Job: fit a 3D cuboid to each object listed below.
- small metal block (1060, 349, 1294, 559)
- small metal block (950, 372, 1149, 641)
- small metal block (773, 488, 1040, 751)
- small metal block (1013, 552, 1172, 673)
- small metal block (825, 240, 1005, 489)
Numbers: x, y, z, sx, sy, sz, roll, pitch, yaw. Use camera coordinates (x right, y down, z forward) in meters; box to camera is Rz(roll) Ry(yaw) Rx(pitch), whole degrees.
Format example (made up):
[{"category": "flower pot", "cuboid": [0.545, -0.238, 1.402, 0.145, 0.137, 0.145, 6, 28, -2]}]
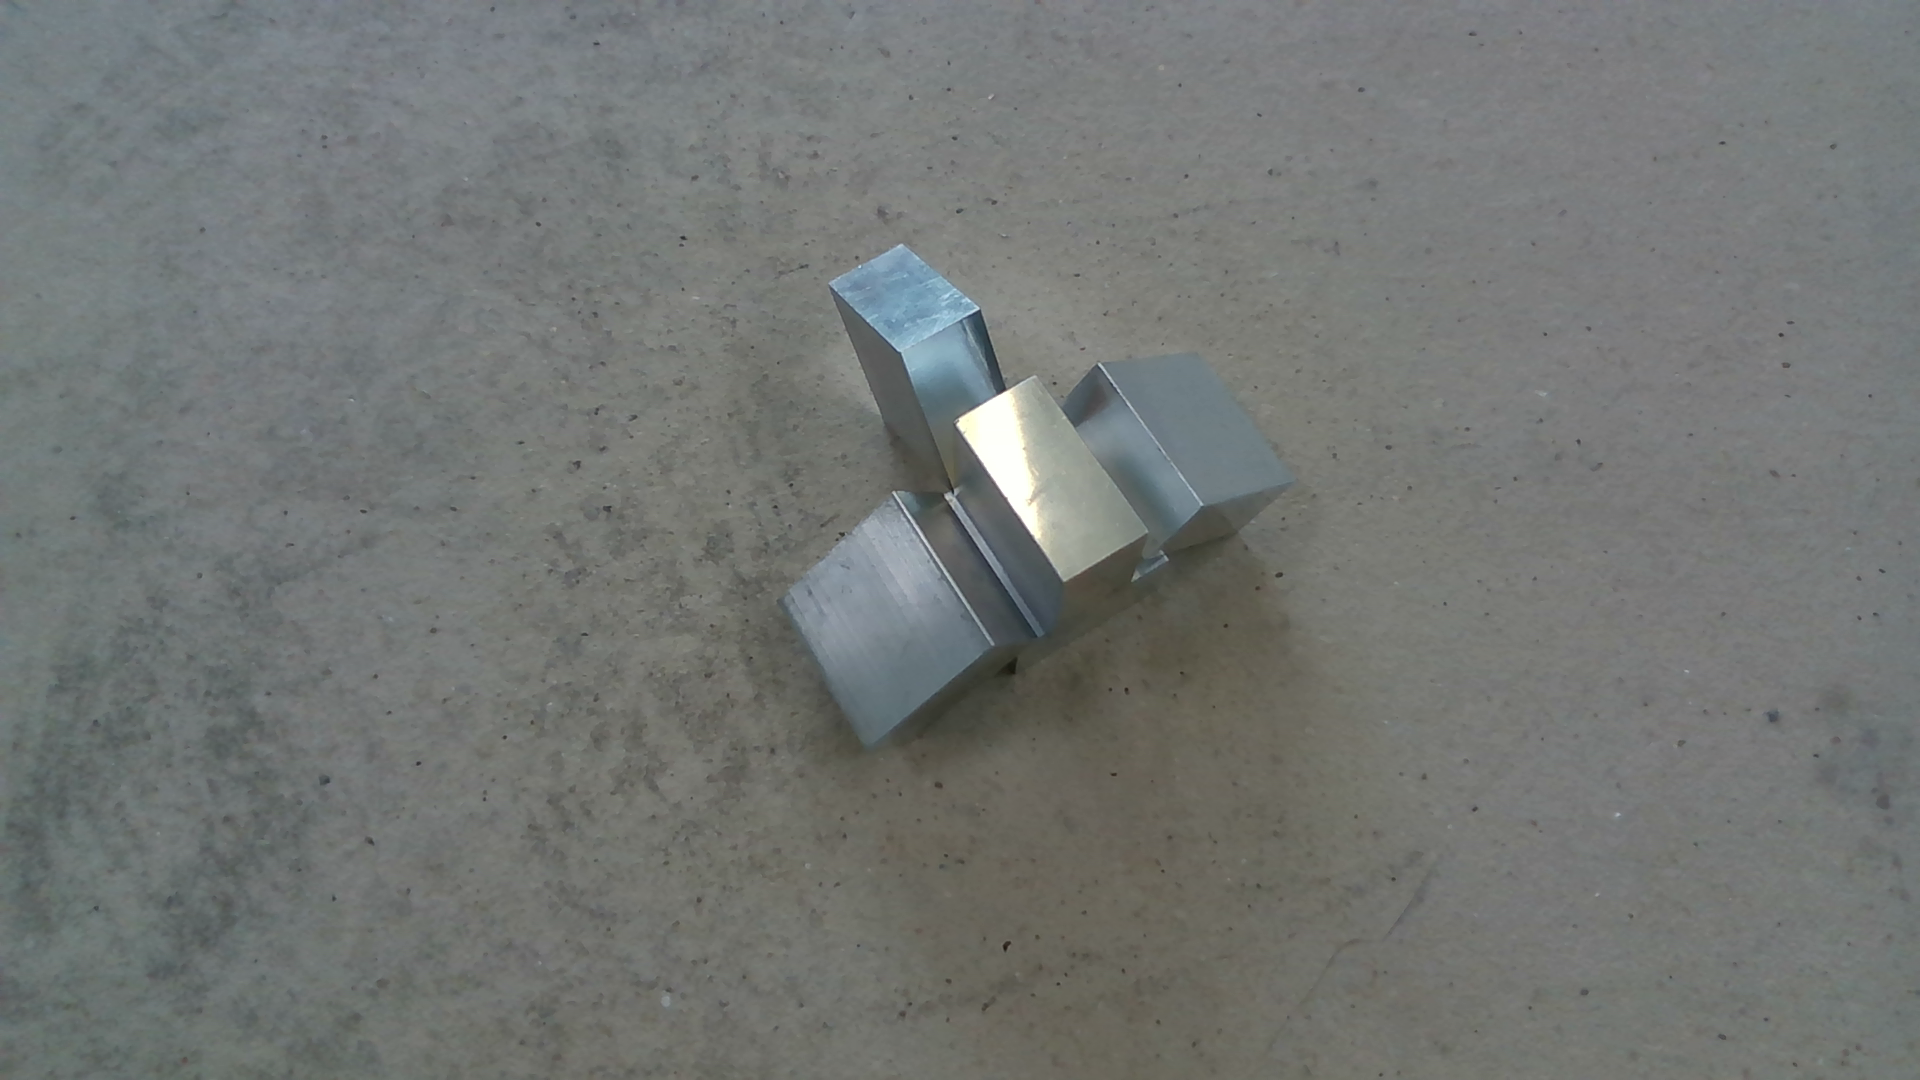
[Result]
[{"category": "small metal block", "cuboid": [0.060, -0.026, 0.391, 0.050, 0.025, 0.050, -14, 64, -48]}, {"category": "small metal block", "cuboid": [0.022, -0.007, 0.358, 0.025, 0.050, 0.050, -31, 73, -10]}, {"category": "small metal block", "cuboid": [-0.015, 0.021, 0.375, 0.050, 0.025, 0.050, -42, 71, 24]}, {"category": "small metal block", "cuboid": [0.024, 0.001, 0.396, 0.050, 0.025, 0.050, -30, 71, -10]}, {"category": "small metal block", "cuboid": [-0.010, -0.050, 0.390, 0.025, 0.050, 0.050, -30, 41, -10]}]
